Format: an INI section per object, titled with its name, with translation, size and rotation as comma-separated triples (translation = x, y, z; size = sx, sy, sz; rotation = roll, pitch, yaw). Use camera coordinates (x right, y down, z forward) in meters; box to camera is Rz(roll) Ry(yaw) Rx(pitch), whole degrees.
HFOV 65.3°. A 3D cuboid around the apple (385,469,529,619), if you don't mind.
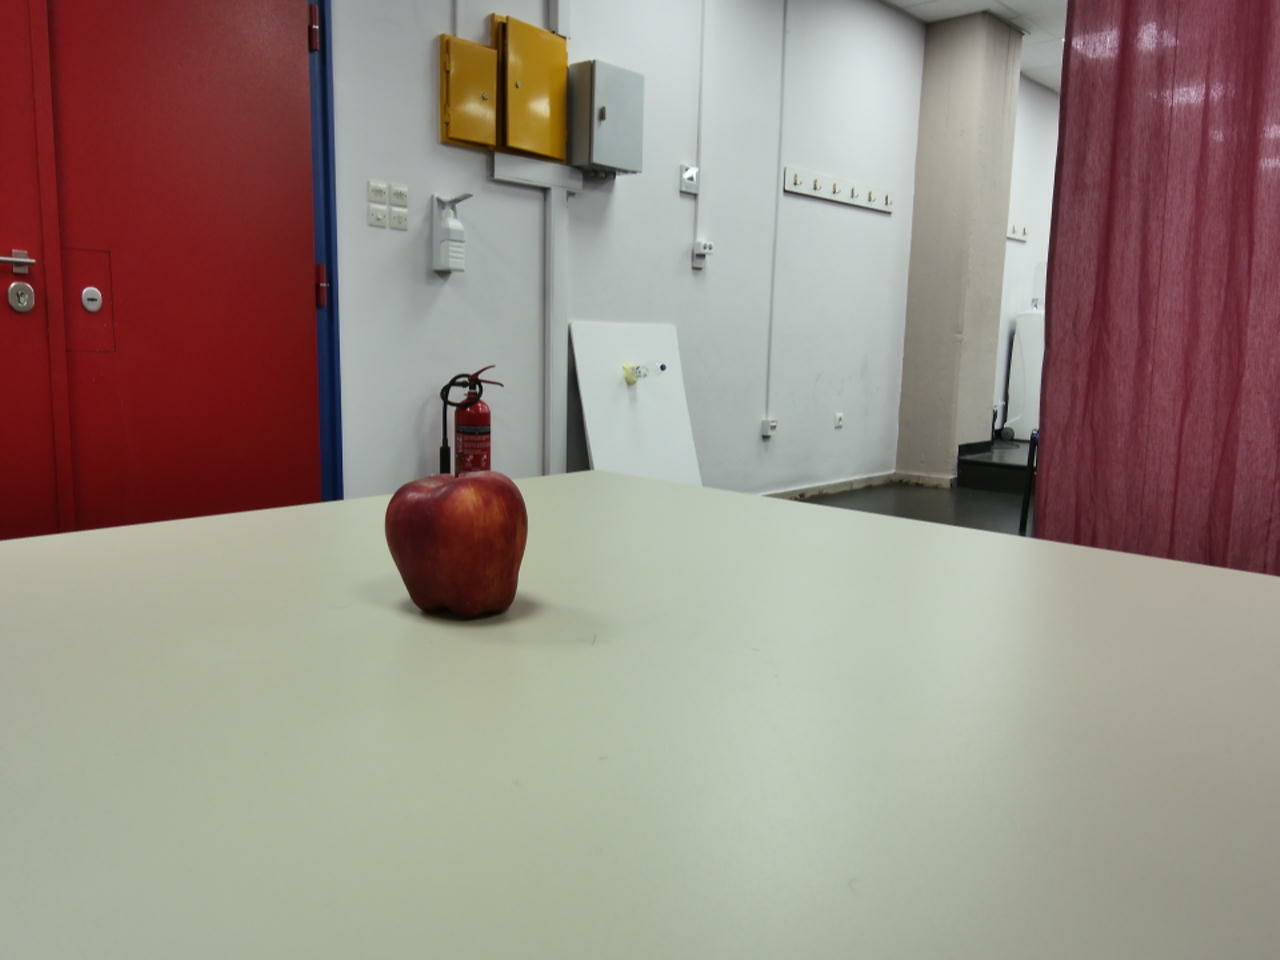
[apple]
translation = -0.103, 0.030, 0.571
size = 0.083, 0.090, 0.083
rotation = 2, 7, 0
